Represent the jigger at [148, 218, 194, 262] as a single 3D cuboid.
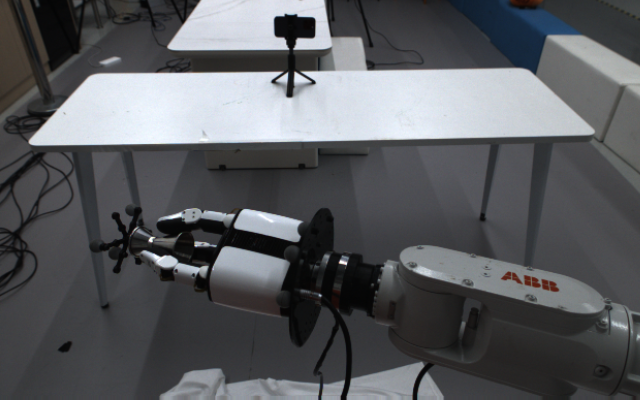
[{"bbox_3d":[-0.189,0.050,0.606,0.071,0.043,0.043,5,34,18],"label":"jigger"}]
